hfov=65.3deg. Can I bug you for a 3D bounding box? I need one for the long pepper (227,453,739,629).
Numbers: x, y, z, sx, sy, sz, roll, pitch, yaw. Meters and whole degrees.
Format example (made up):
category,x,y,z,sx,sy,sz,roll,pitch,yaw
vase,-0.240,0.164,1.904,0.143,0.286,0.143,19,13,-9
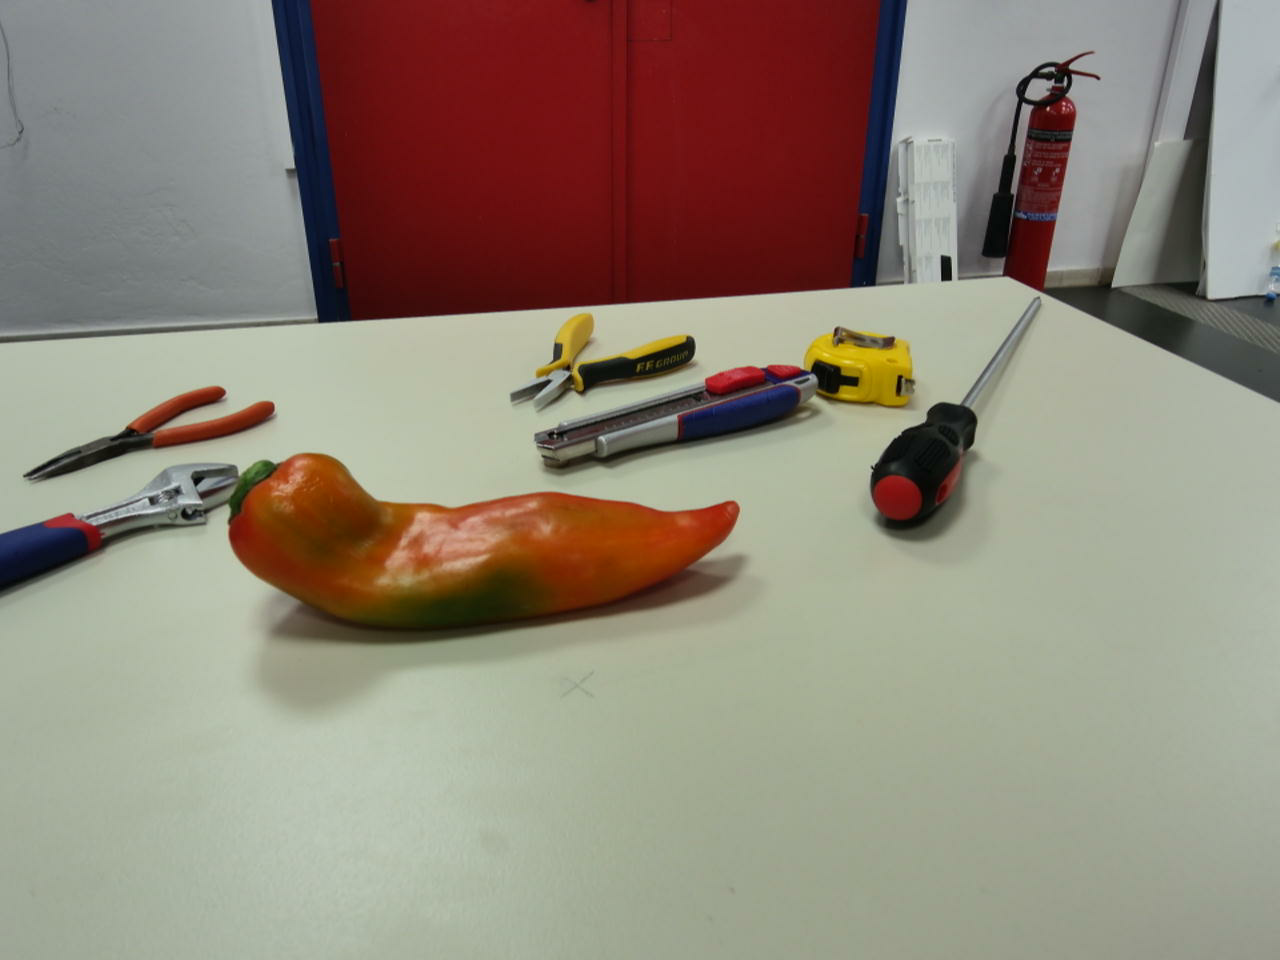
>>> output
category,x,y,z,sx,sy,sz,roll,pitch,yaw
long pepper,-0.056,0.016,0.393,0.199,0.065,0.066,-4,25,-8
